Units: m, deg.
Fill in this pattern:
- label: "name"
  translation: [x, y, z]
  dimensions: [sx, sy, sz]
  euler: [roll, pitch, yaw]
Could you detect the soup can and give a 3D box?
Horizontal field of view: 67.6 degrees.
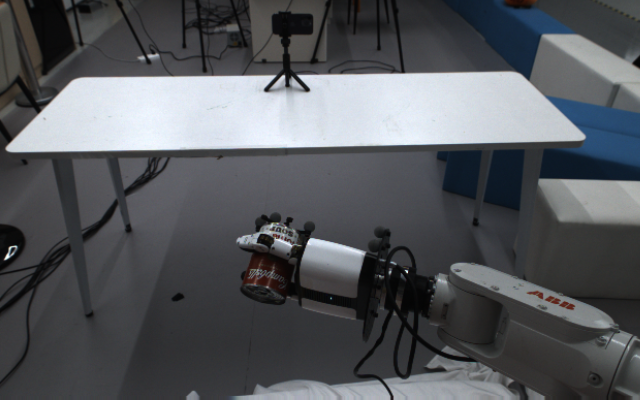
- label: "soup can"
  translation: [-0.068, 0.092, 0.701]
  dimensions: [0.067, 0.067, 0.101]
  euler: [9, 58, 10]
